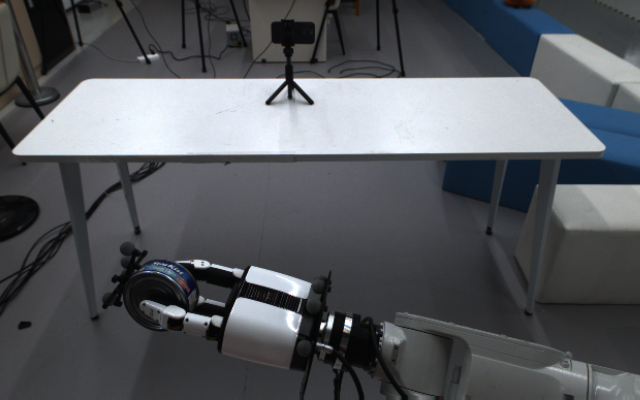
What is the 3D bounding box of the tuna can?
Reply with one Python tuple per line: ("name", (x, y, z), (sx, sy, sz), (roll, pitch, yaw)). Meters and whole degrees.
("tuna can", (-0.193, 0.117, 0.596), (0.085, 0.085, 0.034), (6, 20, 5))
